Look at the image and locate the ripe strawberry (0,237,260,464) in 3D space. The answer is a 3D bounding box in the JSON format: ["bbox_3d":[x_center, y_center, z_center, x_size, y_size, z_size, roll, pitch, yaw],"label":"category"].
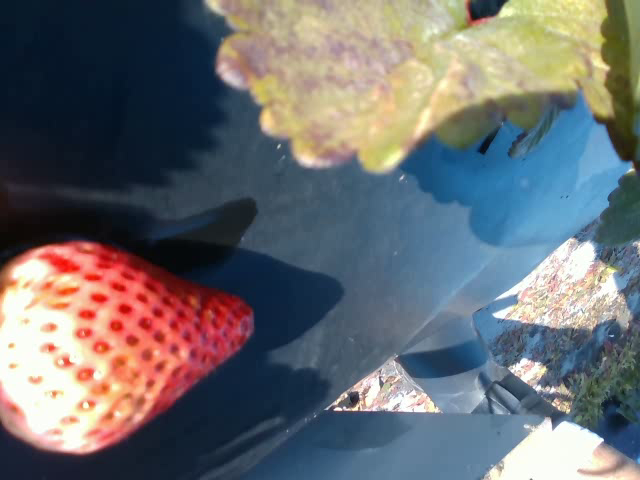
[{"bbox_3d":[-0.032,0.019,0.114,0.063,0.044,0.044,-10,-2,-36],"label":"ripe strawberry"}]
